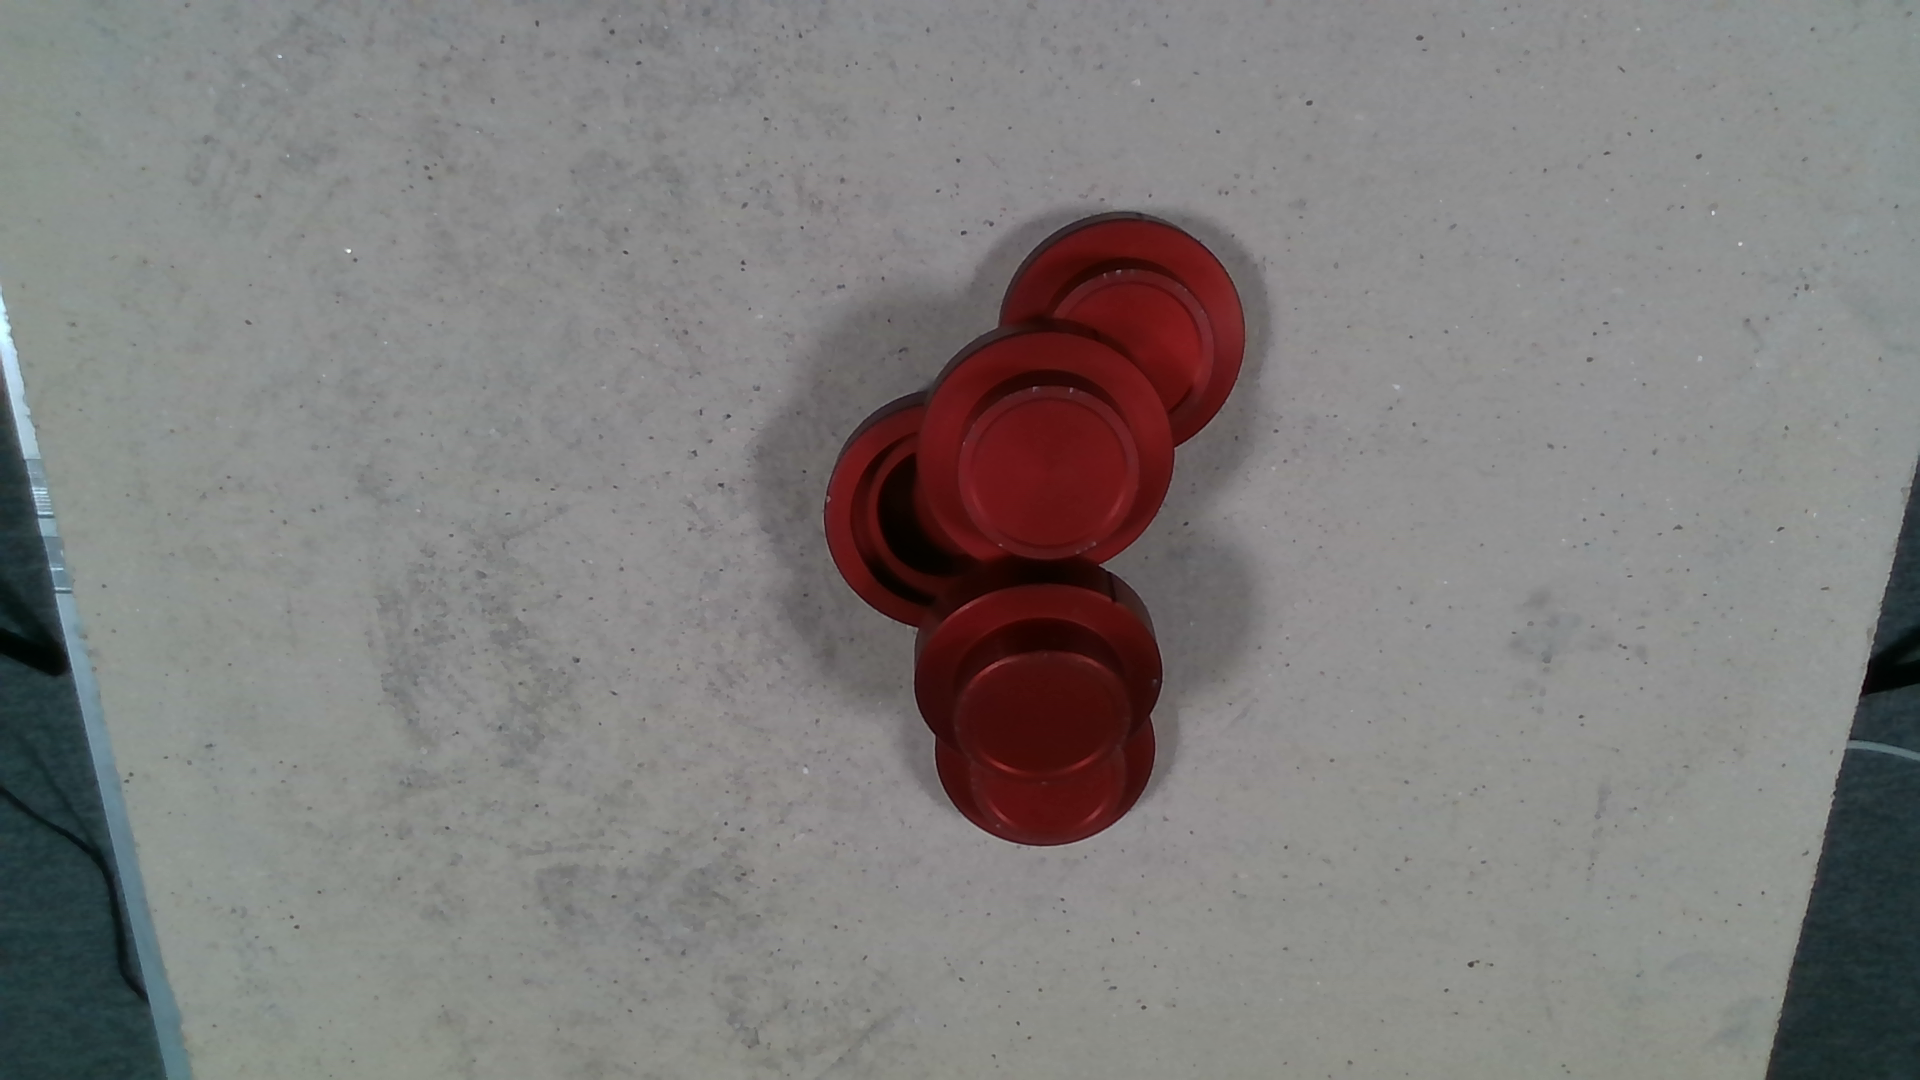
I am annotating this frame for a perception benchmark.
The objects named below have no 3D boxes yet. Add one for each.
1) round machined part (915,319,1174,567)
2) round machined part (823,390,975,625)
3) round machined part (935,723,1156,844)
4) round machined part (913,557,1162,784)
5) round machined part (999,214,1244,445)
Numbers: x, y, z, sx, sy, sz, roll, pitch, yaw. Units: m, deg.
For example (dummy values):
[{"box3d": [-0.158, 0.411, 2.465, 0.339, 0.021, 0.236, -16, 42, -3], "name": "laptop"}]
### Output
[{"box3d": [0.032, -0.031, 0.519, 0.098, 0.042, 0.098, 0, 110, 0], "name": "round machined part"}, {"box3d": [-0.006, -0.016, 0.570, 0.098, 0.042, 0.098, 0, 110, 0], "name": "round machined part"}, {"box3d": [0.038, 0.094, 0.610, 0.098, 0.042, 0.098, 0, 110, 0], "name": "round machined part"}, {"box3d": [0.031, 0.057, 0.541, 0.098, 0.042, 0.098, -1, 123, -1], "name": "round machined part"}, {"box3d": [0.064, -0.078, 0.546, 0.098, 0.042, 0.098, 0, 110, 0], "name": "round machined part"}]
